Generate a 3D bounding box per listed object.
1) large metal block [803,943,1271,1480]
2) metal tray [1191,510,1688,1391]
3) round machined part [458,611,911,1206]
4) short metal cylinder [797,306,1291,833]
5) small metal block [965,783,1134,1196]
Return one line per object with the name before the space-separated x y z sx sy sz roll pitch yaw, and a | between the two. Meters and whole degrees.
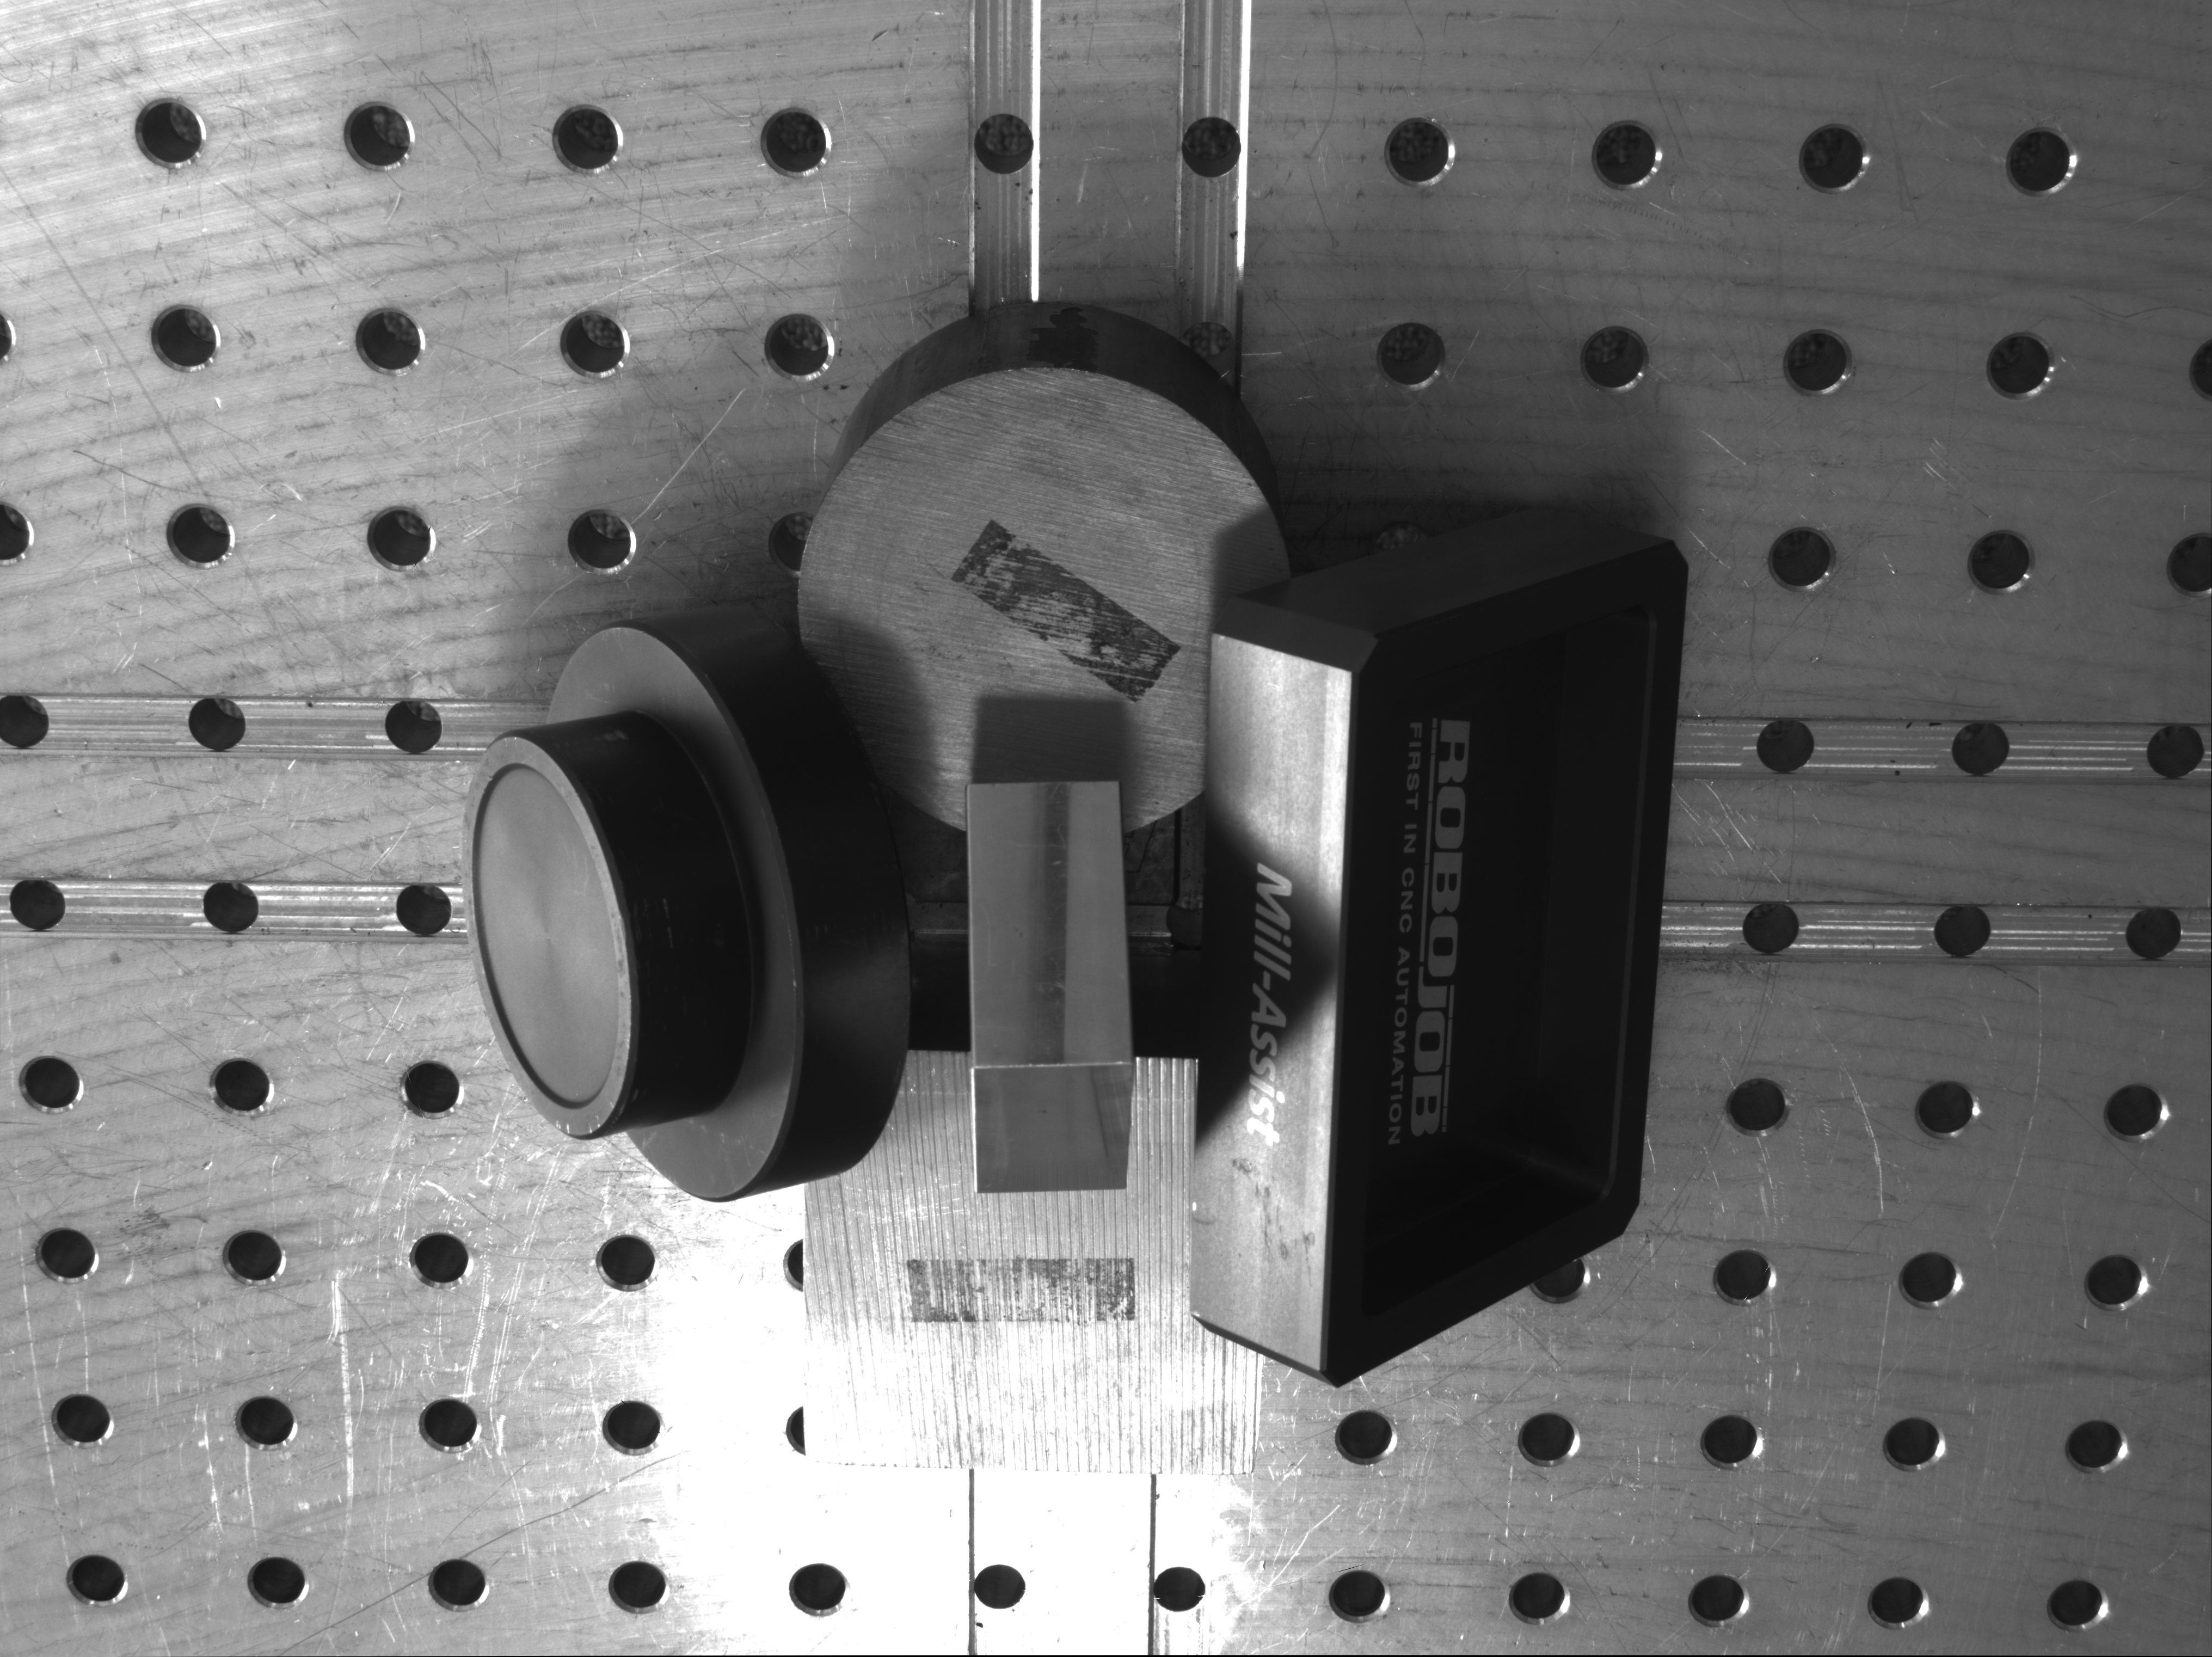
large metal block | -0.012 0.068 0.657 0.080 0.050 0.080 2 110 -1
metal tray | 0.056 0.019 0.620 0.030 0.090 0.130 18 116 40
round machined part | -0.075 0.015 0.608 0.042 0.098 0.098 -11 114 -31
short metal cylinder | -0.010 -0.043 0.616 0.080 0.050 0.080 0 110 0
small metal block | -0.010 0.027 0.597 0.025 0.050 0.050 -1 152 -3
